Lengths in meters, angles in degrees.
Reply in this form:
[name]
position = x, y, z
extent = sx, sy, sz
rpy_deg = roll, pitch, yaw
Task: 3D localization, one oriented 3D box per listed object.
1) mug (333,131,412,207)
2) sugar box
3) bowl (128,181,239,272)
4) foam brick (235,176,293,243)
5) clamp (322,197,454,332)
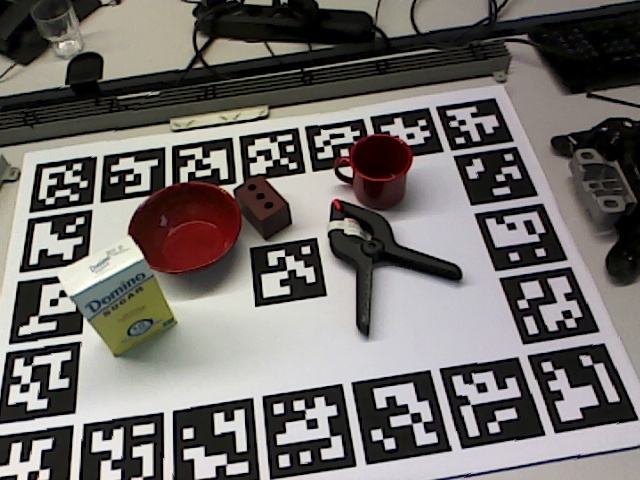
[mug]
position = 0.077, -0.107, 0.941
extent = 0.117, 0.081, 0.093
rpy_deg = 14, 59, 9
[sugar box]
position = -0.252, 0.079, 0.790
extent = 0.092, 0.176, 0.045
rpy_deg = -30, 62, -17
[bowl]
position = -0.196, -0.009, 0.916
extent = 0.162, 0.055, 0.162
rpy_deg = -2, 56, 2
[foam brick]
position = -0.085, -0.046, 0.941
extent = 0.052, 0.051, 0.078
rpy_deg = -33, 61, -16
[clamp]
position = 0.066, 0.013, 0.884
extent = 0.165, 0.036, 0.204
rpy_deg = -30, 60, -13
